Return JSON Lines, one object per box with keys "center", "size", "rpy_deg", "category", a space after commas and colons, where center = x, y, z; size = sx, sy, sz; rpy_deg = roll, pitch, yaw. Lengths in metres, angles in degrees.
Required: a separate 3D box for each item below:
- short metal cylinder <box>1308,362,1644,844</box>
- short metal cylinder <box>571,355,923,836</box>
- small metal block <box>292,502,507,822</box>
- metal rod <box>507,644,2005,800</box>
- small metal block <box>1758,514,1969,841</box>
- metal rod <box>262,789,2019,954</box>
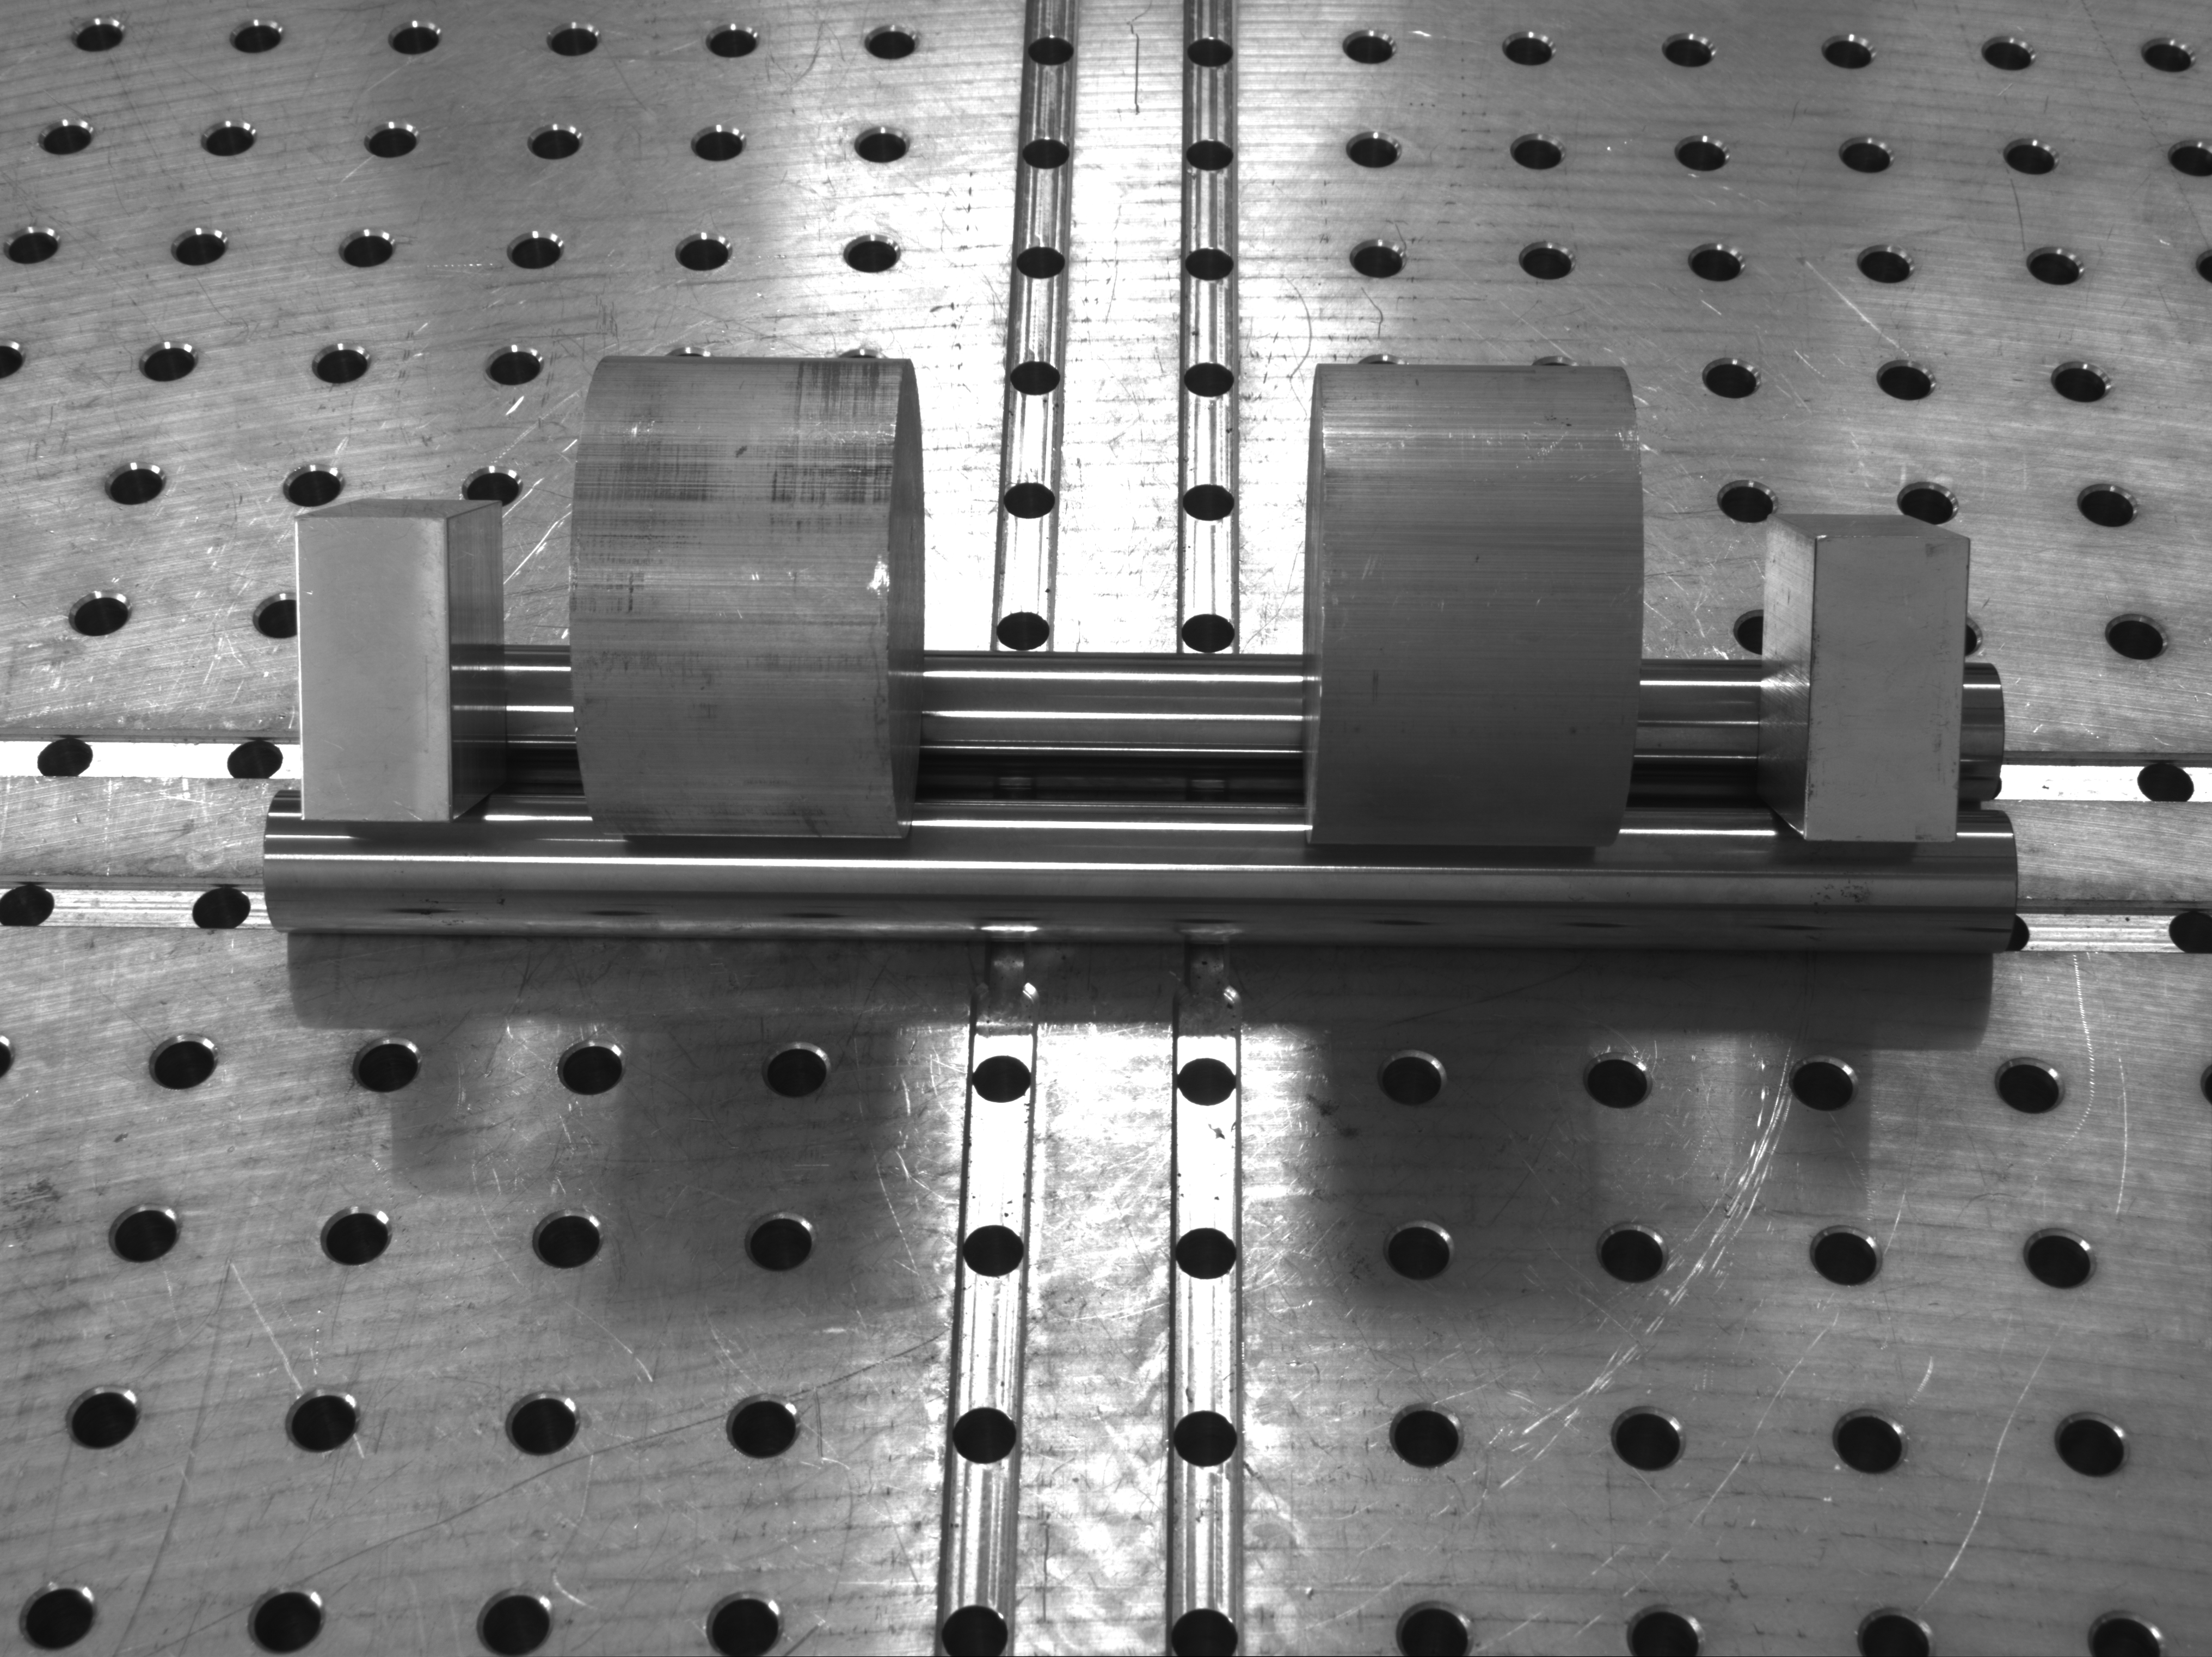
{"center": [0.059, -0.037, 0.613], "size": [0.050, 0.080, 0.080], "rpy_deg": [1, 50, 1], "category": "short metal cylinder"}
{"center": [-0.058, -0.039, 0.614], "size": [0.050, 0.080, 0.080], "rpy_deg": [1, 50, 1], "category": "short metal cylinder"}
{"center": [-0.119, -0.029, 0.625], "size": [0.025, 0.050, 0.050], "rpy_deg": [0, 8, 1], "category": "small metal block"}
{"center": [0.009, -0.019, 0.662], "size": [0.300, 0.025, 0.025], "rpy_deg": [1, 50, 1], "category": "metal rod"}
{"center": [0.127, -0.027, 0.622], "size": [0.025, 0.050, 0.050], "rpy_deg": [0, 9, 1], "category": "small metal block"}
{"center": [0.006, 0.007, 0.640], "size": [0.300, 0.025, 0.025], "rpy_deg": [1, 50, 1], "category": "metal rod"}
